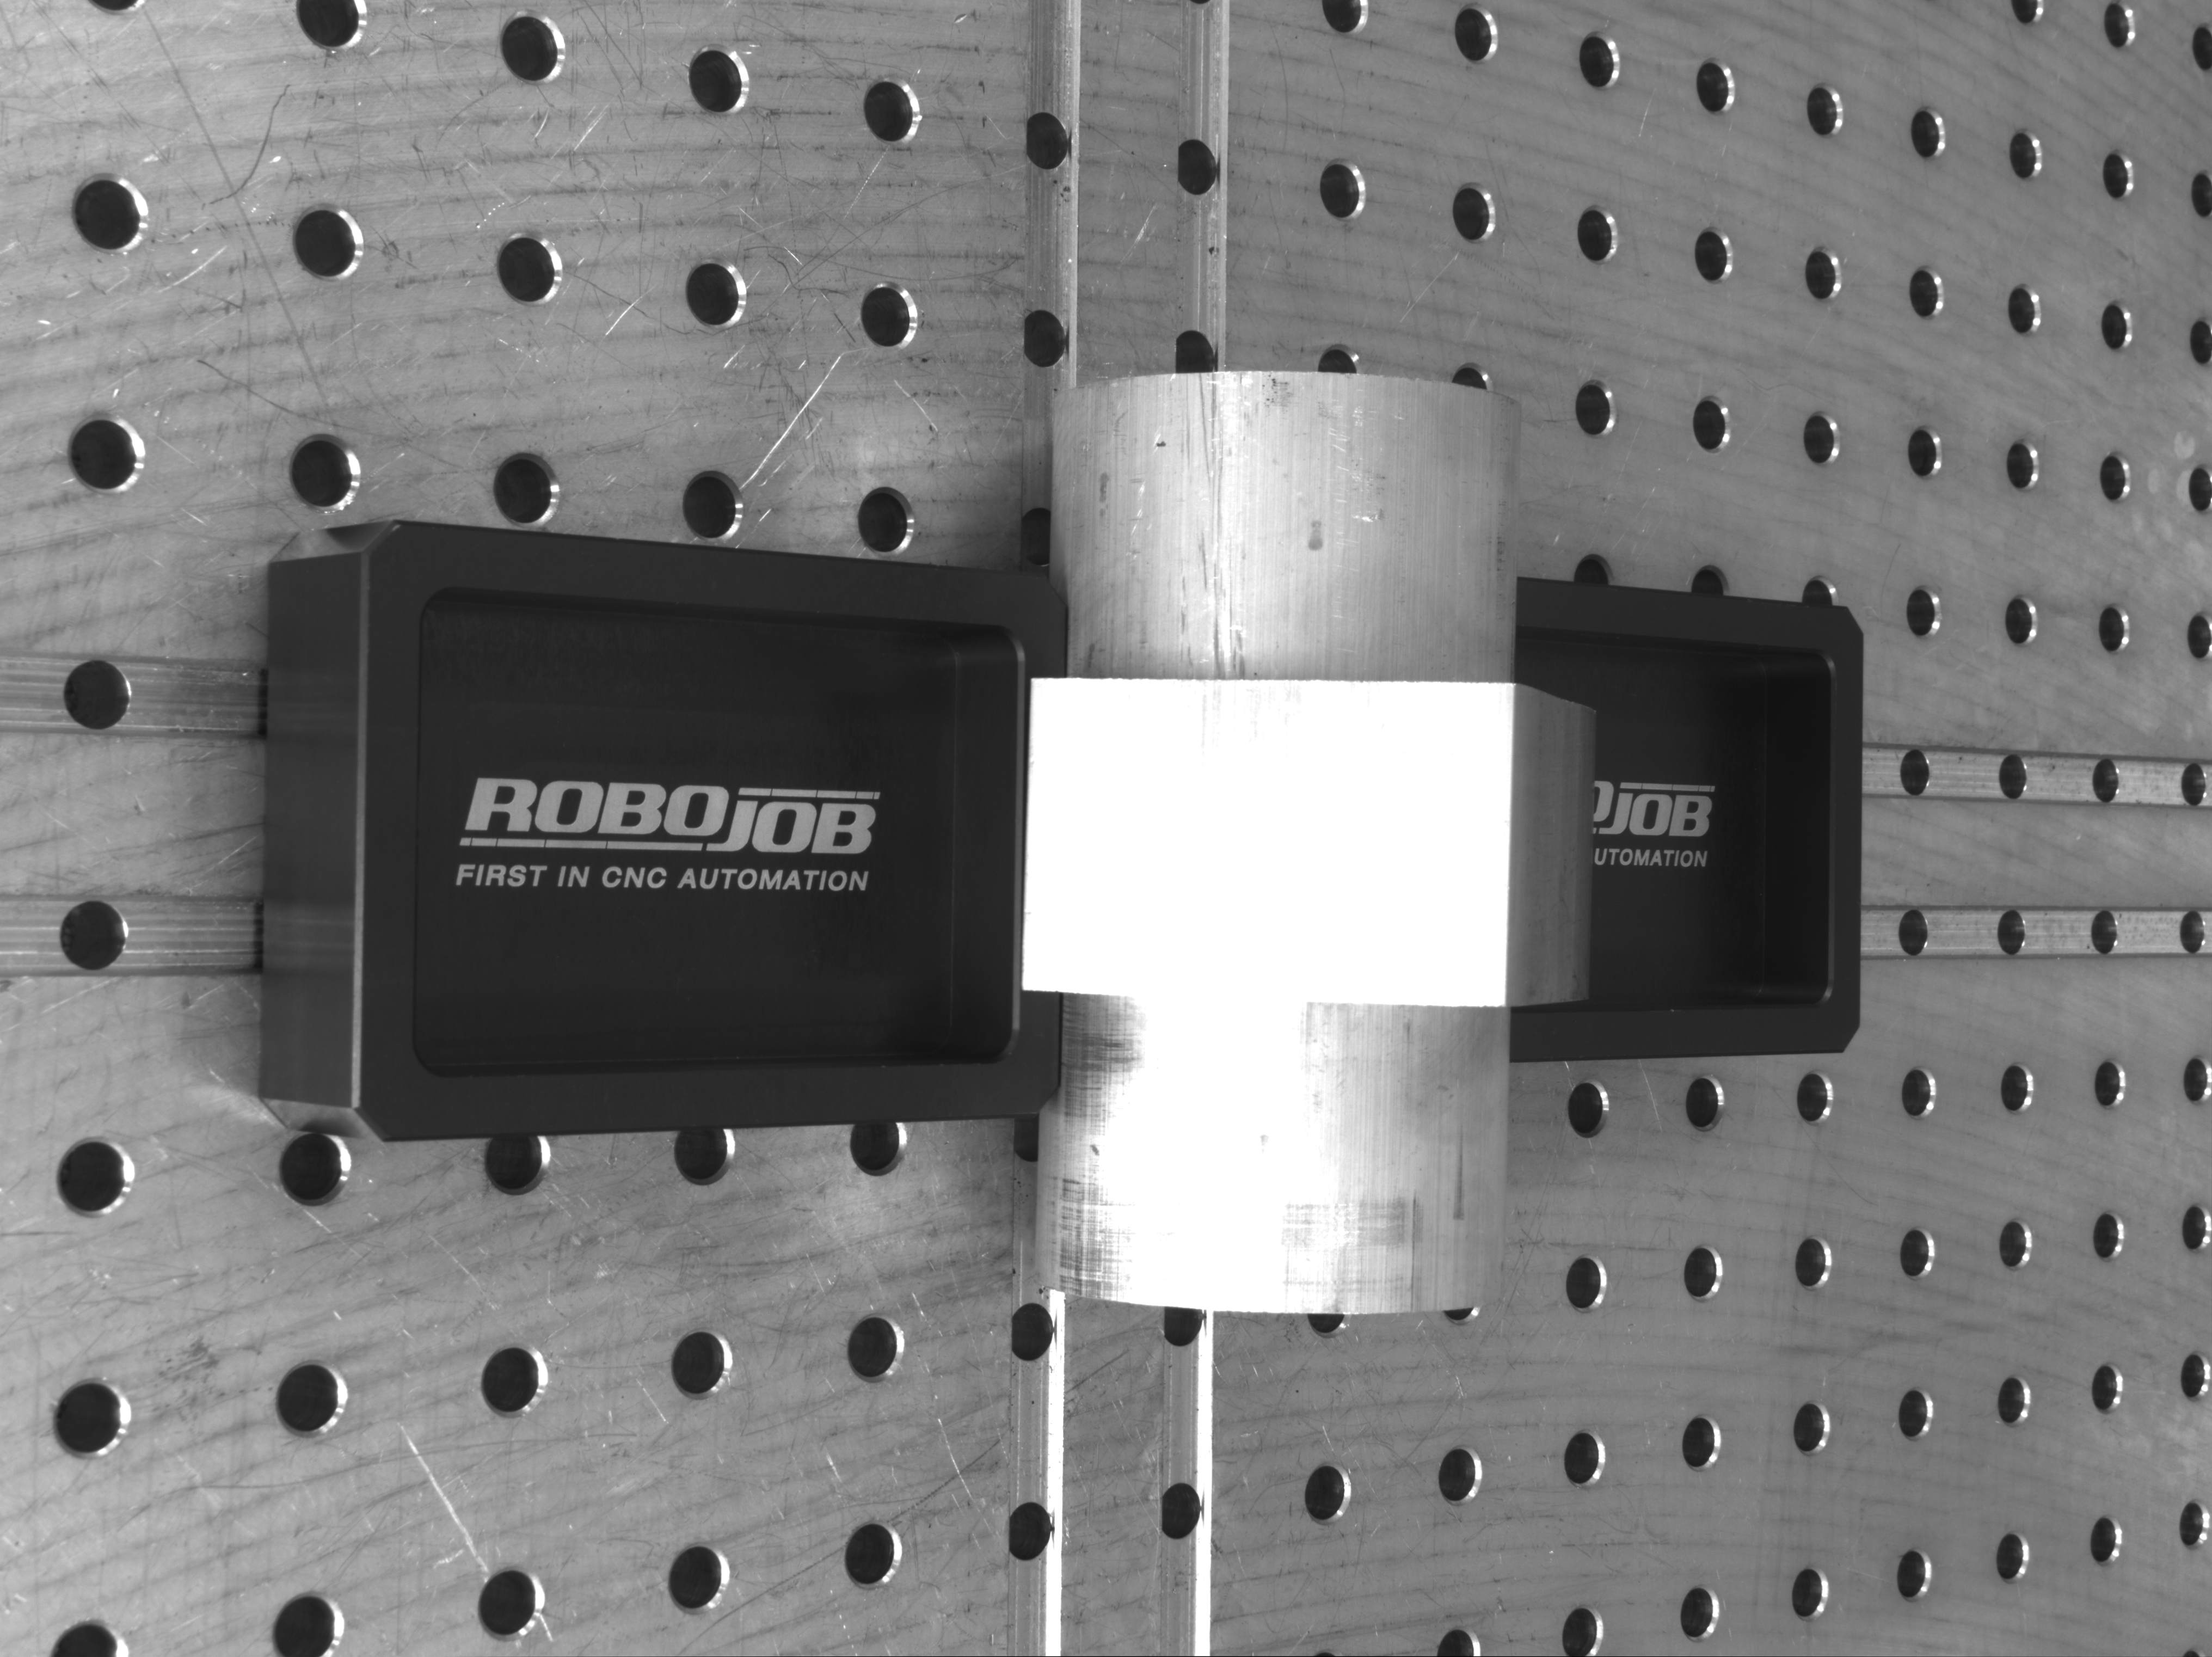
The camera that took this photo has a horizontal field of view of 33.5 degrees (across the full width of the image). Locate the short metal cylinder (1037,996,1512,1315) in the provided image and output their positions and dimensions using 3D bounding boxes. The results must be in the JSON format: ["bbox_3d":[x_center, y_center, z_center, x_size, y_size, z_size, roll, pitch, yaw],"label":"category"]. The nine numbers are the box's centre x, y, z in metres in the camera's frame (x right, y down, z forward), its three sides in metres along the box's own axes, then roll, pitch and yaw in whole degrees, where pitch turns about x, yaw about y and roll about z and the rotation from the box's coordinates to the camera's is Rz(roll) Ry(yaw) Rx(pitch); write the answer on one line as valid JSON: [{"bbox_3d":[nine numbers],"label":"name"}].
[{"bbox_3d":[0.029,0.054,0.627,0.080,0.080,0.050,2,88,-40],"label":"short metal cylinder"}]

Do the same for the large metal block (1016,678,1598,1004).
[{"bbox_3d":[0.036,0.003,0.615,0.080,0.080,0.050,8,83,-74],"label":"large metal block"}]

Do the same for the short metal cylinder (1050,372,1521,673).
[{"bbox_3d":[0.030,-0.047,0.629,0.080,0.080,0.050,2,89,-40],"label":"short metal cylinder"}]

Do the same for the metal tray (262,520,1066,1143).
[{"bbox_3d":[-0.066,0.002,0.581,0.130,0.030,0.090,2,89,-40],"label":"metal tray"}]

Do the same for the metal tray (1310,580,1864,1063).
[{"bbox_3d":[0.094,-0.001,0.713,0.130,0.030,0.090,1,89,-40],"label":"metal tray"}]
